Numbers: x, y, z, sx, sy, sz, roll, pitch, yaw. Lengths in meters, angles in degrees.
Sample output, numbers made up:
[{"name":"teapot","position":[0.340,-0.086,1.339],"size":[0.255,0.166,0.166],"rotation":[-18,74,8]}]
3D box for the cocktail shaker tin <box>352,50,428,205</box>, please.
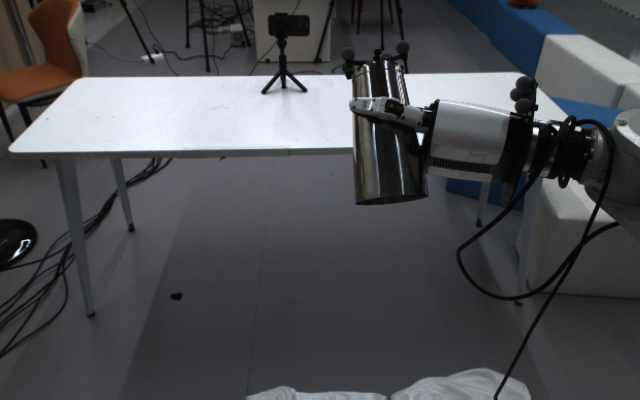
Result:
[{"name":"cocktail shaker tin","position":[0.083,-0.084,0.618],"size":[0.093,0.170,0.093],"rotation":[-6,-7,-1]}]
